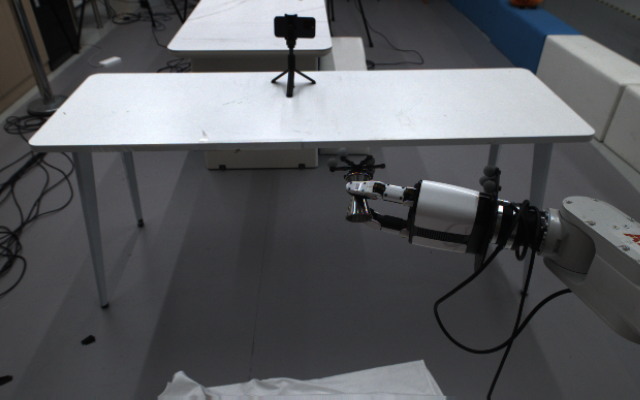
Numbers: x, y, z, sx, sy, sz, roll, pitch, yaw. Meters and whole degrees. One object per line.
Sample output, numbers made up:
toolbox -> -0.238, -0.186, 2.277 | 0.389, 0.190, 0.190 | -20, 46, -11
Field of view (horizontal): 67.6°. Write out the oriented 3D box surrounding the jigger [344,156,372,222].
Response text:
jigger -> 0.059, -0.006, 0.748 | 0.043, 0.043, 0.071 | 1, 70, -2
